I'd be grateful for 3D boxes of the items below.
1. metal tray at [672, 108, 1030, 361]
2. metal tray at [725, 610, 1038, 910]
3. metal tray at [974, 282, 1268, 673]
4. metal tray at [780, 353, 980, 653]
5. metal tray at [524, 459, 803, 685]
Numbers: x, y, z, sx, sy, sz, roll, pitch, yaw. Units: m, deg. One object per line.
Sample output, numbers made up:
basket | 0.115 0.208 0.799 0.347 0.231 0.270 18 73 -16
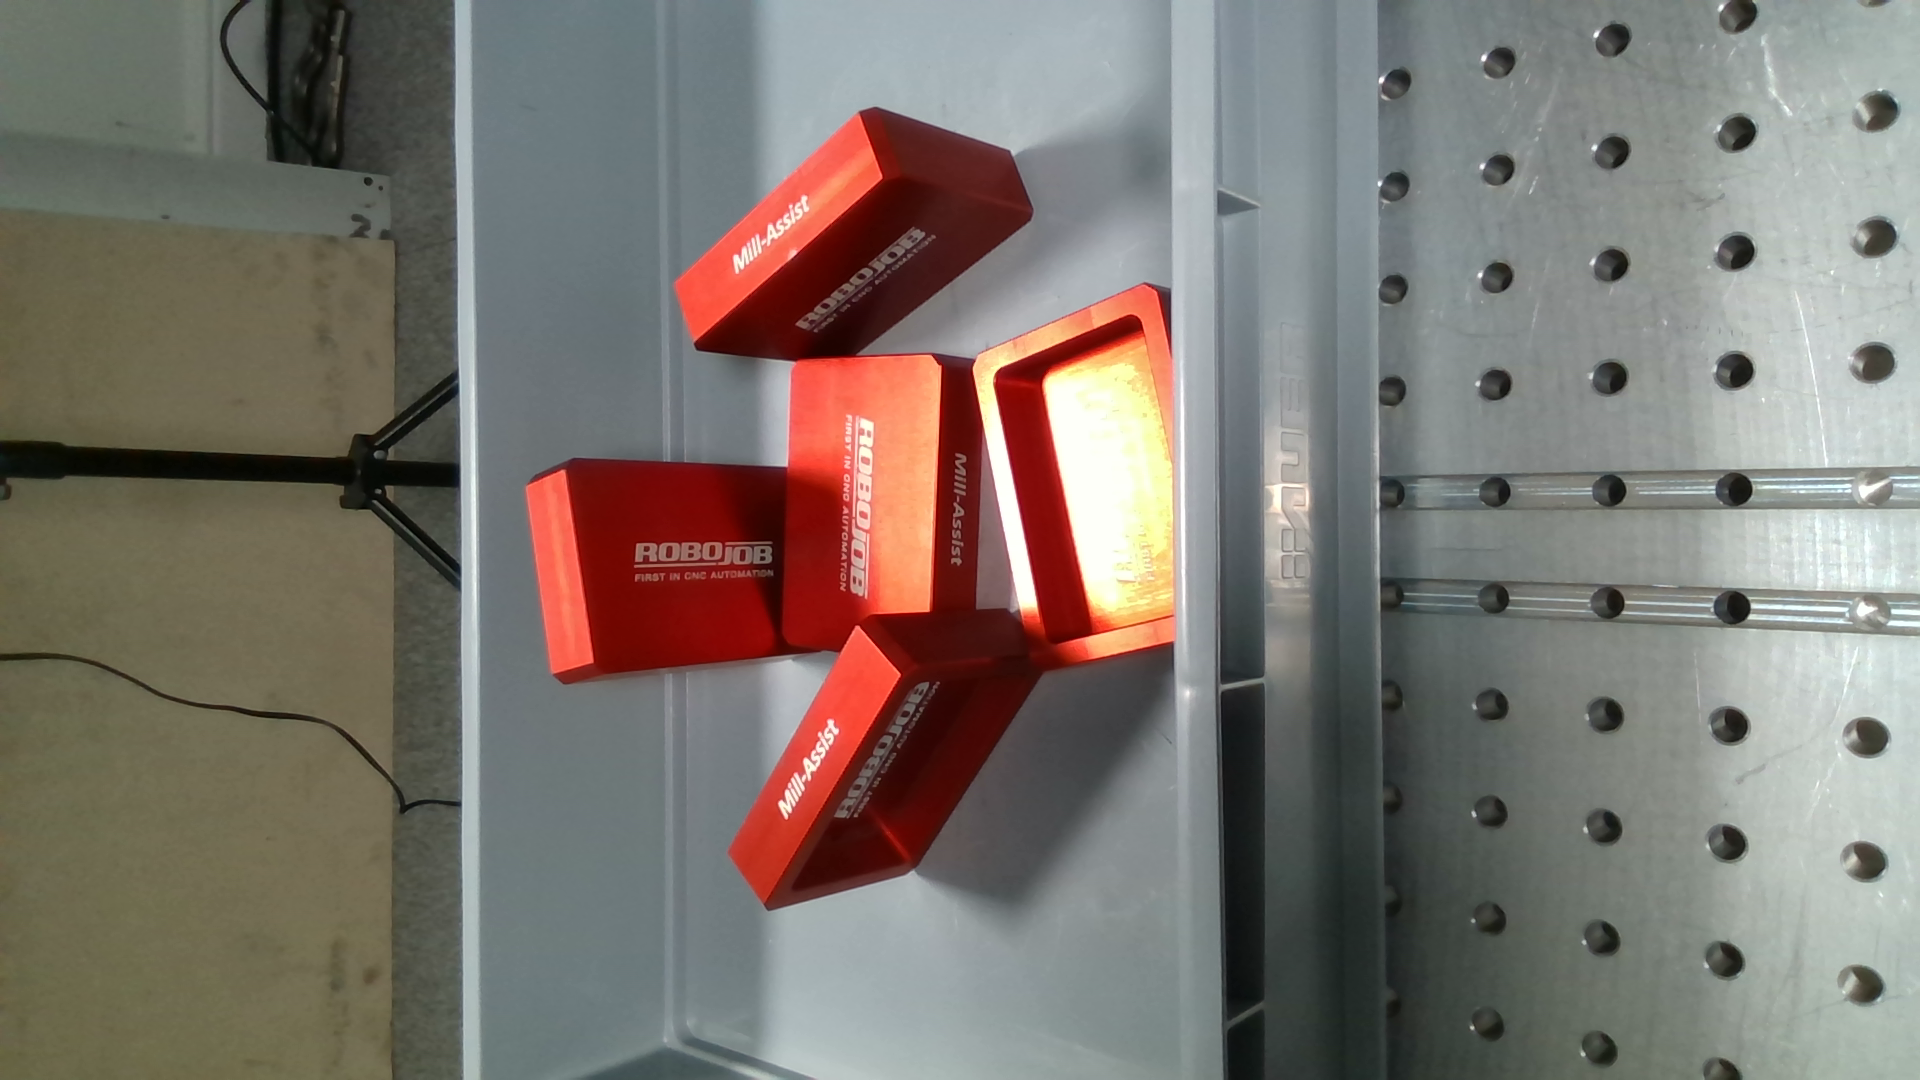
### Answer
metal tray | -0.046 -0.121 0.575 0.130 0.090 0.030 -31 72 36
metal tray | -0.030 0.089 0.563 0.030 0.090 0.130 46 118 31
metal tray | 0.059 -0.021 0.527 0.090 0.030 0.130 -17 79 39
metal tray | -0.036 -0.014 0.606 0.090 0.030 0.130 4 93 40
metal tray | -0.124 0.013 0.615 0.030 0.130 0.090 -16 80 39
